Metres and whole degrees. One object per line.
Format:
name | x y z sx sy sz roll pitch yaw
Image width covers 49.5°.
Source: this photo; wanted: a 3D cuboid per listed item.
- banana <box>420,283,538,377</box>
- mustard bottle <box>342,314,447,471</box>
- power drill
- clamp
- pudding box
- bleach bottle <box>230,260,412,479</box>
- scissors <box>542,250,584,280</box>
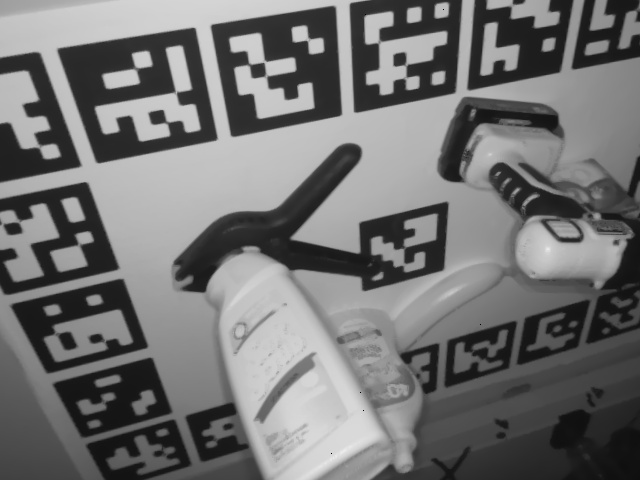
banana | 0.167 0.110 0.805 0.196 0.039 0.075 -44 143 13
mustard bottle | 0.079 0.159 0.725 0.097 0.192 0.058 0 125 -17
power drill | 0.246 -0.039 0.605 0.187 0.187 0.056 -3 132 -20
clamp | -0.019 0.019 0.664 0.204 0.037 0.164 -17 126 -6
pudding box | 0.290 -0.028 0.726 0.115 0.090 0.038 -9 133 -13
bleach bottle | -0.025 0.098 0.584 0.103 0.250 0.068 -31 132 -4
scissors | 0.315 0.012 0.681 0.205 0.016 0.087 11 115 -21
